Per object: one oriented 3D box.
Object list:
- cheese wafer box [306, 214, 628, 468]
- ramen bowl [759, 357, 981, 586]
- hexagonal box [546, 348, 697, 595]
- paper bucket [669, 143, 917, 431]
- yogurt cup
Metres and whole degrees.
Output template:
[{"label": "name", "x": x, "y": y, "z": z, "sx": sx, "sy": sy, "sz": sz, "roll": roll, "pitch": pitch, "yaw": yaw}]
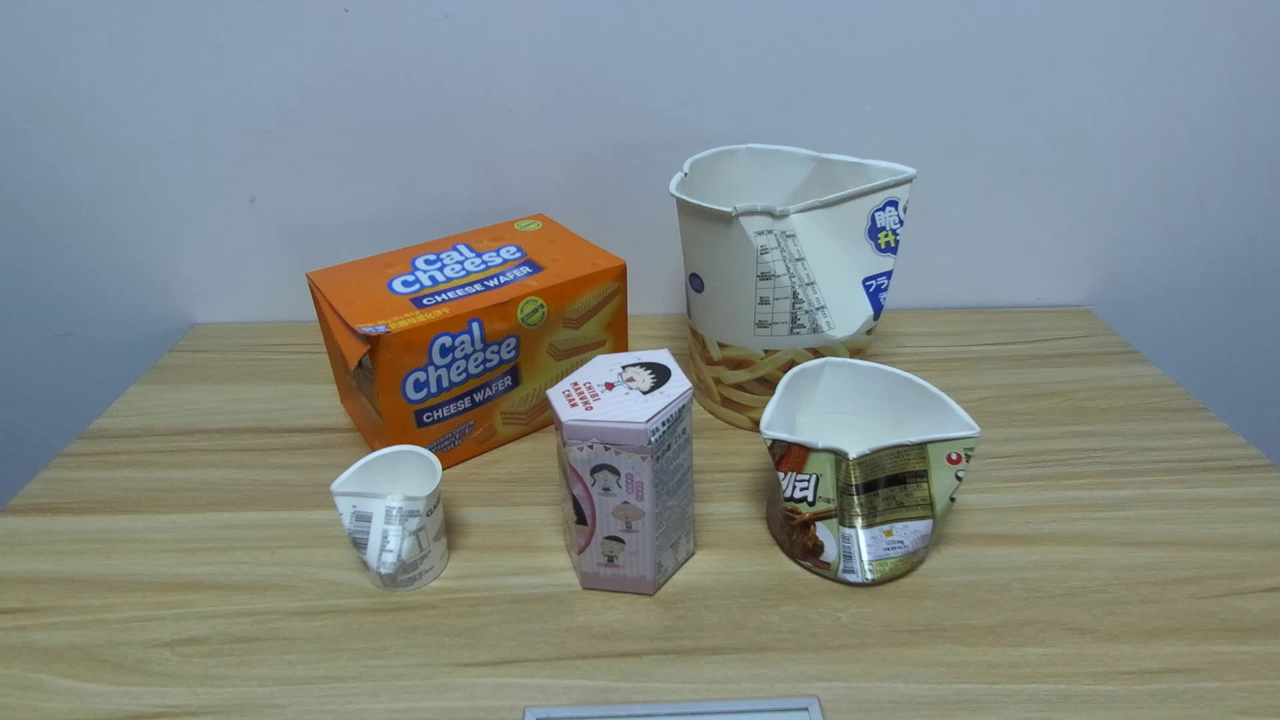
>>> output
[{"label": "cheese wafer box", "x": -0.138, "y": -0.023, "z": 0.597, "sx": 0.228, "sy": 0.137, "sz": 0.149, "roll": -21, "pitch": 38, "yaw": -30}, {"label": "ramen bowl", "x": 0.148, "y": 0.071, "z": 0.475, "sx": 0.137, "sy": 0.098, "sz": 0.137, "roll": 1, "pitch": 31, "yaw": 0}, {"label": "hexagonal box", "x": -0.007, "y": 0.069, "z": 0.444, "sx": 0.085, "sy": 0.135, "sz": 0.092, "roll": -12, "pitch": 34, "yaw": -15}, {"label": "paper bucket", "x": 0.111, "y": -0.055, "z": 0.583, "sx": 0.168, "sy": 0.202, "sz": 0.163, "roll": 16, "pitch": 37, "yaw": 29}, {"label": "yogurt cup", "x": -0.155, "y": 0.103, "z": 0.455, "sx": 0.067, "sy": 0.070, "sz": 0.067, "roll": -2, "pitch": 30, "yaw": 2}]
